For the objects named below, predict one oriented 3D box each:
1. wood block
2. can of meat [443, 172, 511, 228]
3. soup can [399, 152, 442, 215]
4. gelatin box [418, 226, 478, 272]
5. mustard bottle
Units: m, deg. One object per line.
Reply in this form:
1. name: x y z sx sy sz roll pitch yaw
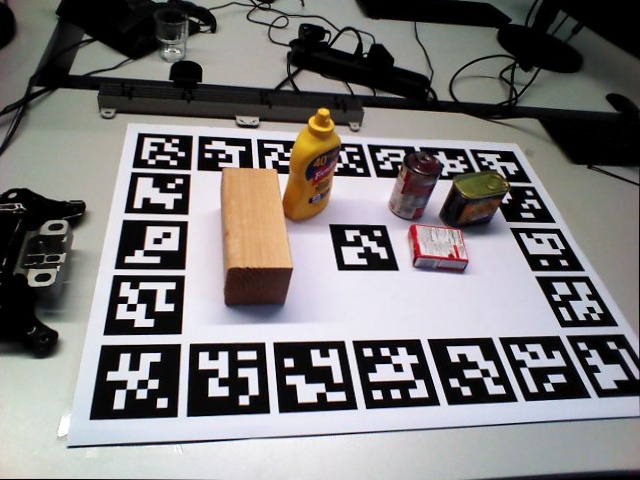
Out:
1. wood block: -0.095 -0.010 0.773 0.091 0.090 0.205 2 44 -12
2. can of meat: 0.276 -0.071 0.906 0.101 0.084 0.057 -9 51 -22
3. soup can: 0.180 -0.101 0.889 0.068 0.102 0.067 5 49 -6
4. gelatin box: 0.209 0.012 0.846 0.089 0.030 0.073 6 49 -2
5. mustard bottle: -0.005 -0.118 0.826 0.096 0.192 0.058 -20 54 -28
